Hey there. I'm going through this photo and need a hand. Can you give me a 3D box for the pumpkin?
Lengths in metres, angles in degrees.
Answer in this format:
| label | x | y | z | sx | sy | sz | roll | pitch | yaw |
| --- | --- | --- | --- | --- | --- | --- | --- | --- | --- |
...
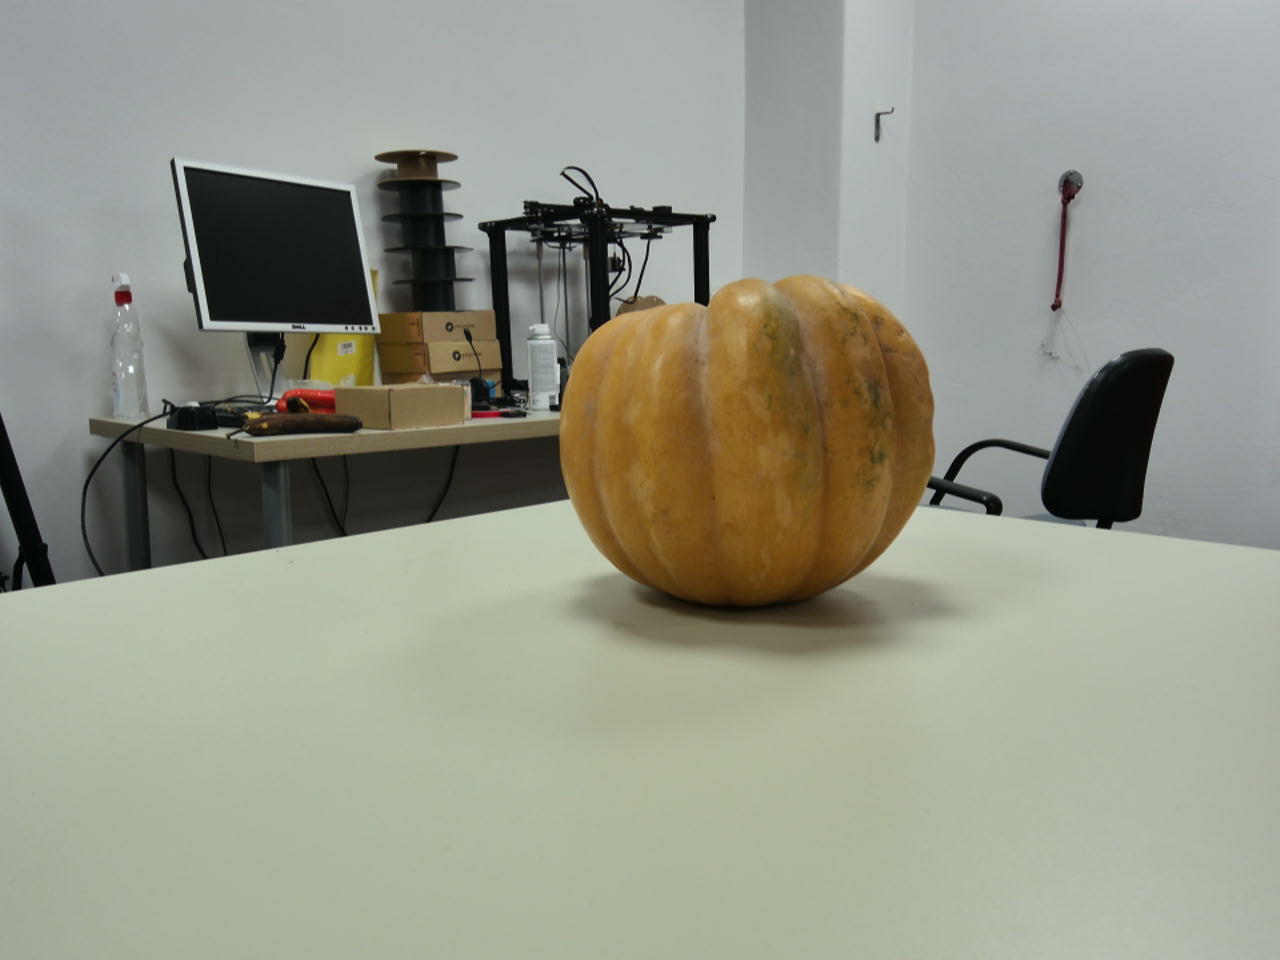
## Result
| label | x | y | z | sx | sy | sz | roll | pitch | yaw |
| --- | --- | --- | --- | --- | --- | --- | --- | --- | --- |
| pumpkin | 0.063 | -0.023 | 0.617 | 0.230 | 0.194 | 0.230 | 0 | 6 | 0 |
